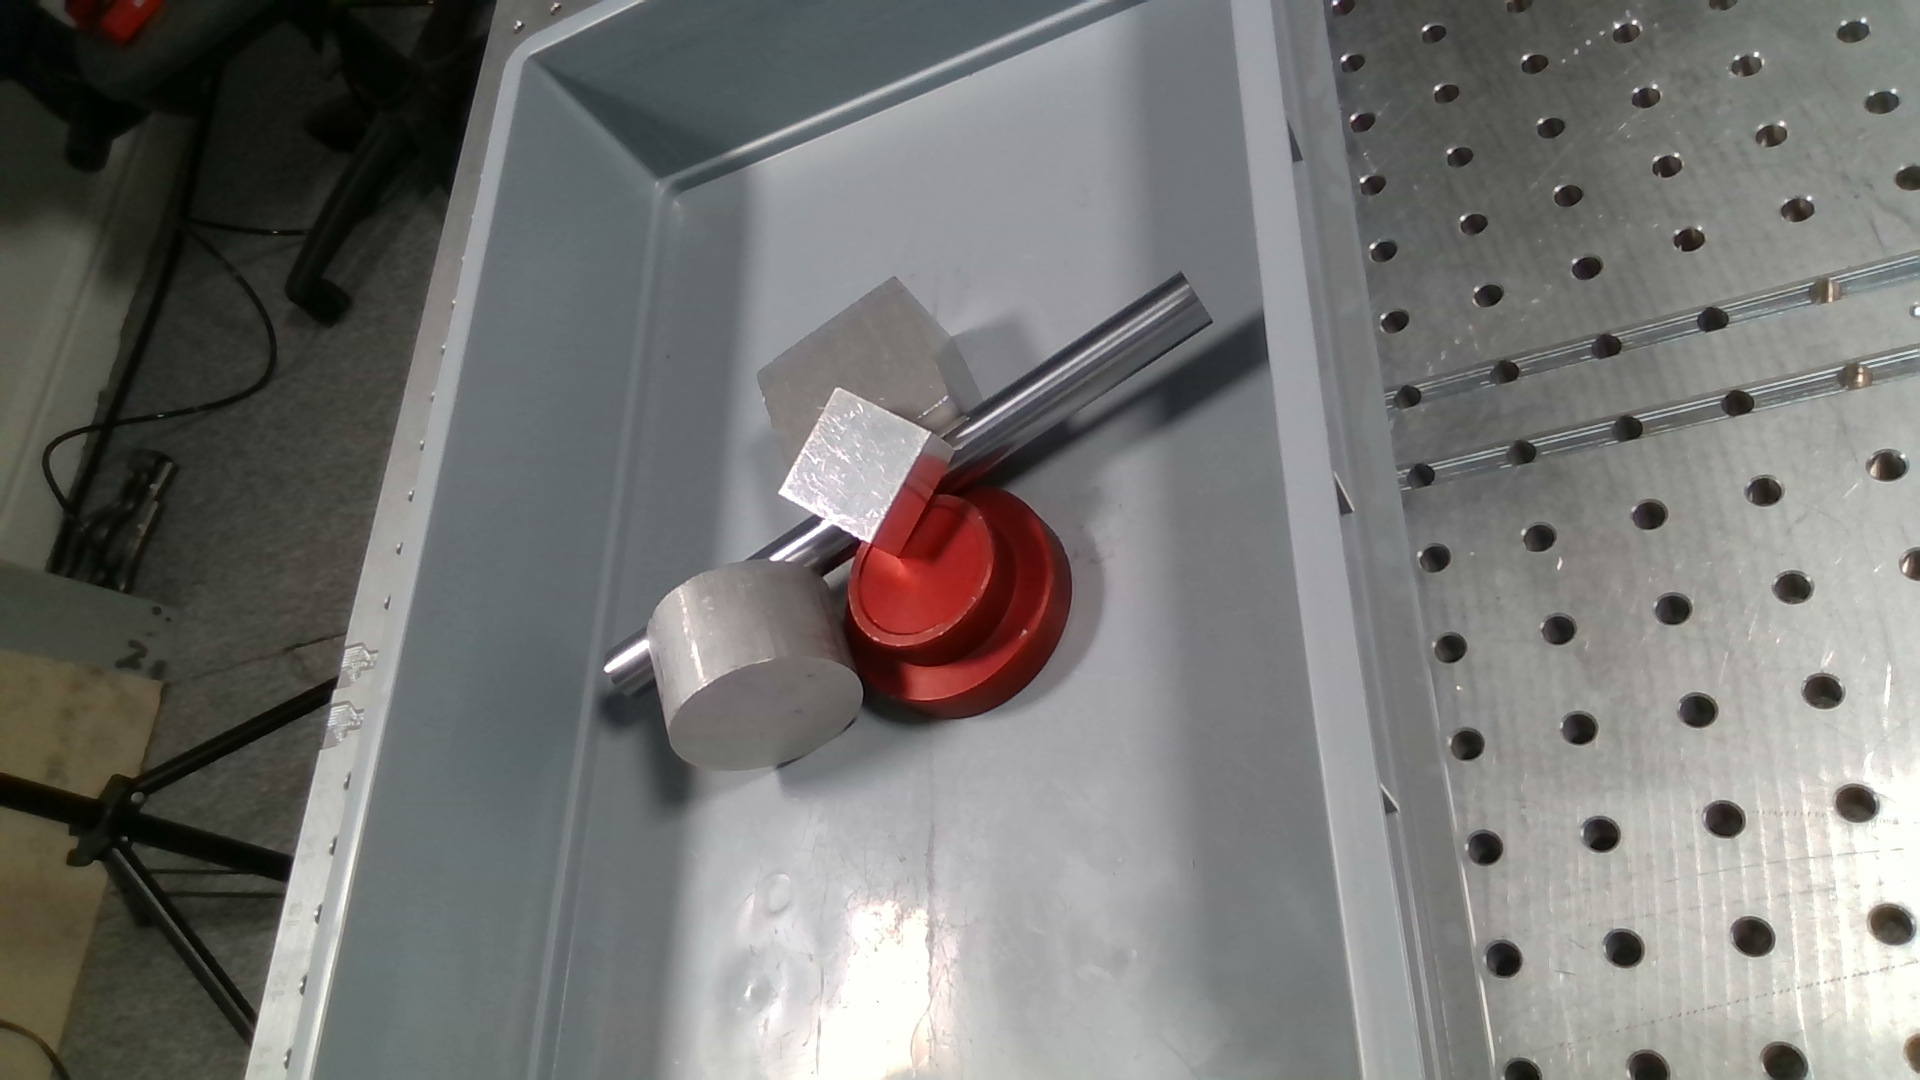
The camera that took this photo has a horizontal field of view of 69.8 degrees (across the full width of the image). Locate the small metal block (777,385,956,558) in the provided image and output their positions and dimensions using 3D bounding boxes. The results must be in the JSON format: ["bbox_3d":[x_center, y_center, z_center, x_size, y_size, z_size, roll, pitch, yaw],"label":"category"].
[{"bbox_3d":[-0.038,-0.028,0.560,0.050,0.025,0.050,28,89,27],"label":"small metal block"}]

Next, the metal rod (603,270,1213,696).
[{"bbox_3d":[-0.028,-0.019,0.585,0.300,0.025,0.025,-32,53,13],"label":"metal rod"}]

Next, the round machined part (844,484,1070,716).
[{"bbox_3d":[-0.007,0.020,0.566,0.098,0.042,0.098,-14,59,25],"label":"round machined part"}]

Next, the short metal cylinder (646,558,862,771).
[{"bbox_3d":[-0.086,0.053,0.574,0.080,0.080,0.050,-32,53,13],"label":"short metal cylinder"}]

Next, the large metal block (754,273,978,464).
[{"bbox_3d":[-0.037,-0.058,0.619,0.080,0.050,0.080,-32,53,13],"label":"large metal block"}]
